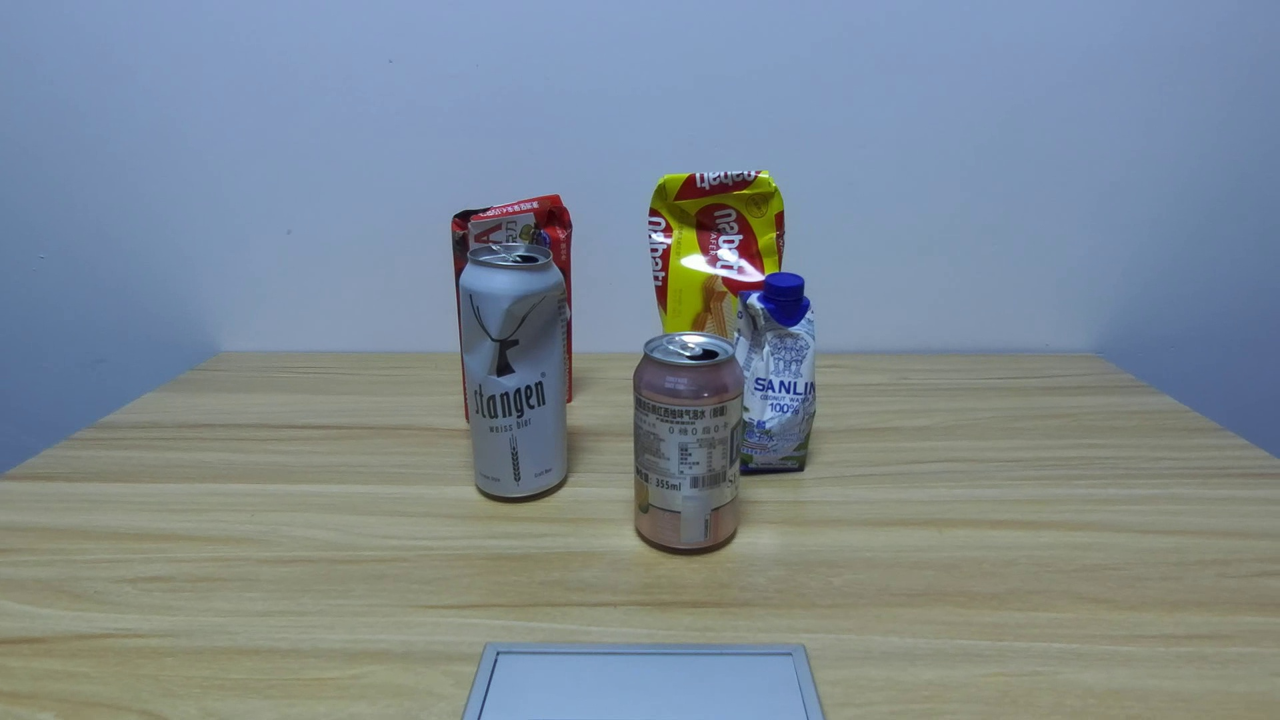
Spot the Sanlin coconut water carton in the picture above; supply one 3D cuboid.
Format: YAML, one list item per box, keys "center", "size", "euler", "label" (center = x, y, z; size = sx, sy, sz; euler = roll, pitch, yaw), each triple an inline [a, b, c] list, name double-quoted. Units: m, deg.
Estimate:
- center: [0.100, 0.007, 0.527]
  size: [0.057, 0.144, 0.068]
  euler: [2, 11, -12]
  label: "Sanlin coconut water carton"

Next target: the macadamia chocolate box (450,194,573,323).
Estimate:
- center: [-0.103, -0.041, 0.598]
  size: [0.103, 0.187, 0.027]
  euler: [-16, 31, -35]
  label: "macadamia chocolate box"

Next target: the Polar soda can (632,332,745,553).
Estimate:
- center: [0.028, 0.050, 0.433]
  size: [0.067, 0.125, 0.067]
  euler: [2, 20, 0]
  label: "Polar soda can"

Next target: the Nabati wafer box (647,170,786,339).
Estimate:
- center: [0.065, -0.054, 0.602]
  size: [0.113, 0.205, 0.042]
  euler: [-1, 19, 2]
  label: "Nabati wafer box"

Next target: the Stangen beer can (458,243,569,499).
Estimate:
- center: [-0.084, 0.009, 0.484]
  size: [0.070, 0.173, 0.069]
  euler: [-1, 20, -3]
  label: "Stangen beer can"
